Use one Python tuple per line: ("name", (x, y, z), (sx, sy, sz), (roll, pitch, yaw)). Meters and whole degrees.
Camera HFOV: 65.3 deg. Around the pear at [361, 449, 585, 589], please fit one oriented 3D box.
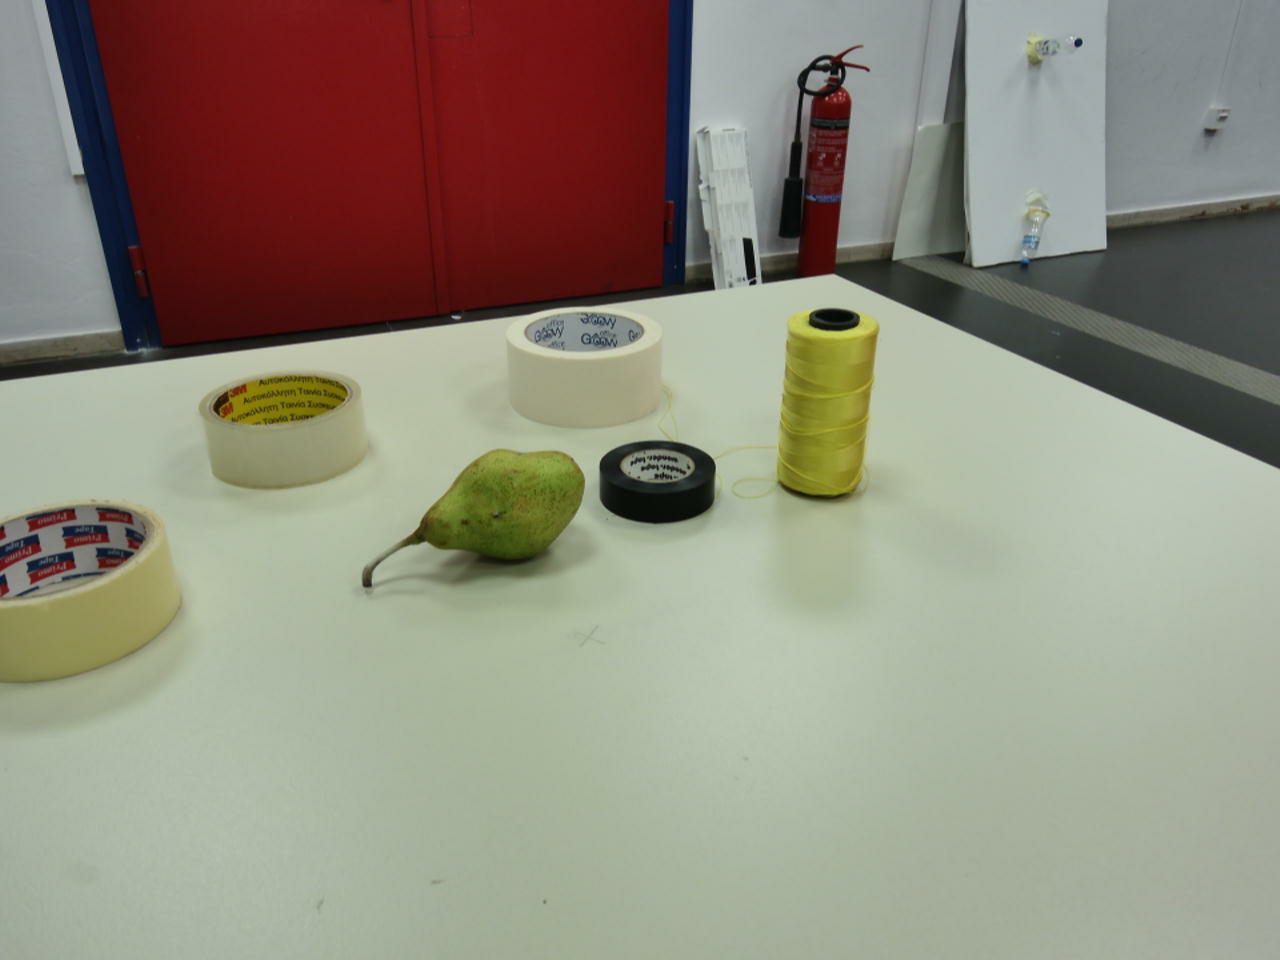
("pear", (-0.083, 0.014, 0.496), (0.111, 0.056, 0.056), (-5, 26, -9))
